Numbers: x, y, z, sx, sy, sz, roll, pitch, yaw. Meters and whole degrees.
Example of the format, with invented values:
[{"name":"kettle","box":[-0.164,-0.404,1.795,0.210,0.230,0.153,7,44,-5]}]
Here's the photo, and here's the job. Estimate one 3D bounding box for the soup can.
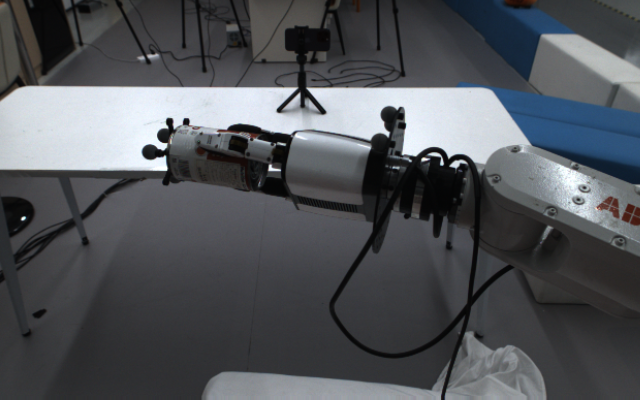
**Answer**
[{"name":"soup can","box":[-0.116,-0.049,0.567,0.101,0.067,0.067,8,35,11]}]
